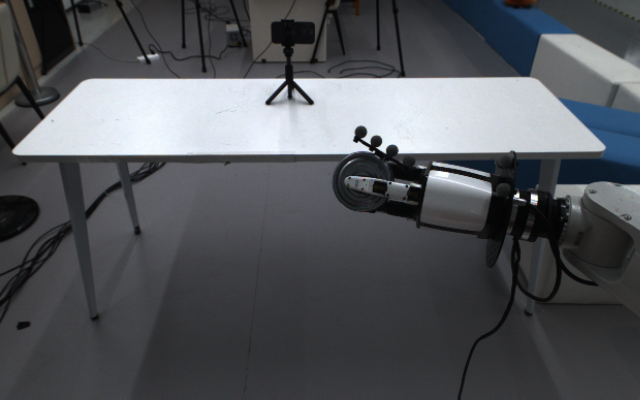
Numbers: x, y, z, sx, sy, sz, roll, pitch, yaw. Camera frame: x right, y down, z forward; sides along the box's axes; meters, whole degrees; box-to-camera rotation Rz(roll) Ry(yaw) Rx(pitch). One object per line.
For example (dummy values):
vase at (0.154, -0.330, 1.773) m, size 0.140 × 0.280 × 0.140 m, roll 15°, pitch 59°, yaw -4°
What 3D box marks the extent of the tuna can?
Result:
tuna can at (0.065, -0.020, 0.684) m, size 0.085 × 0.085 × 0.034 m, roll 12°, pitch 4°, yaw 15°
